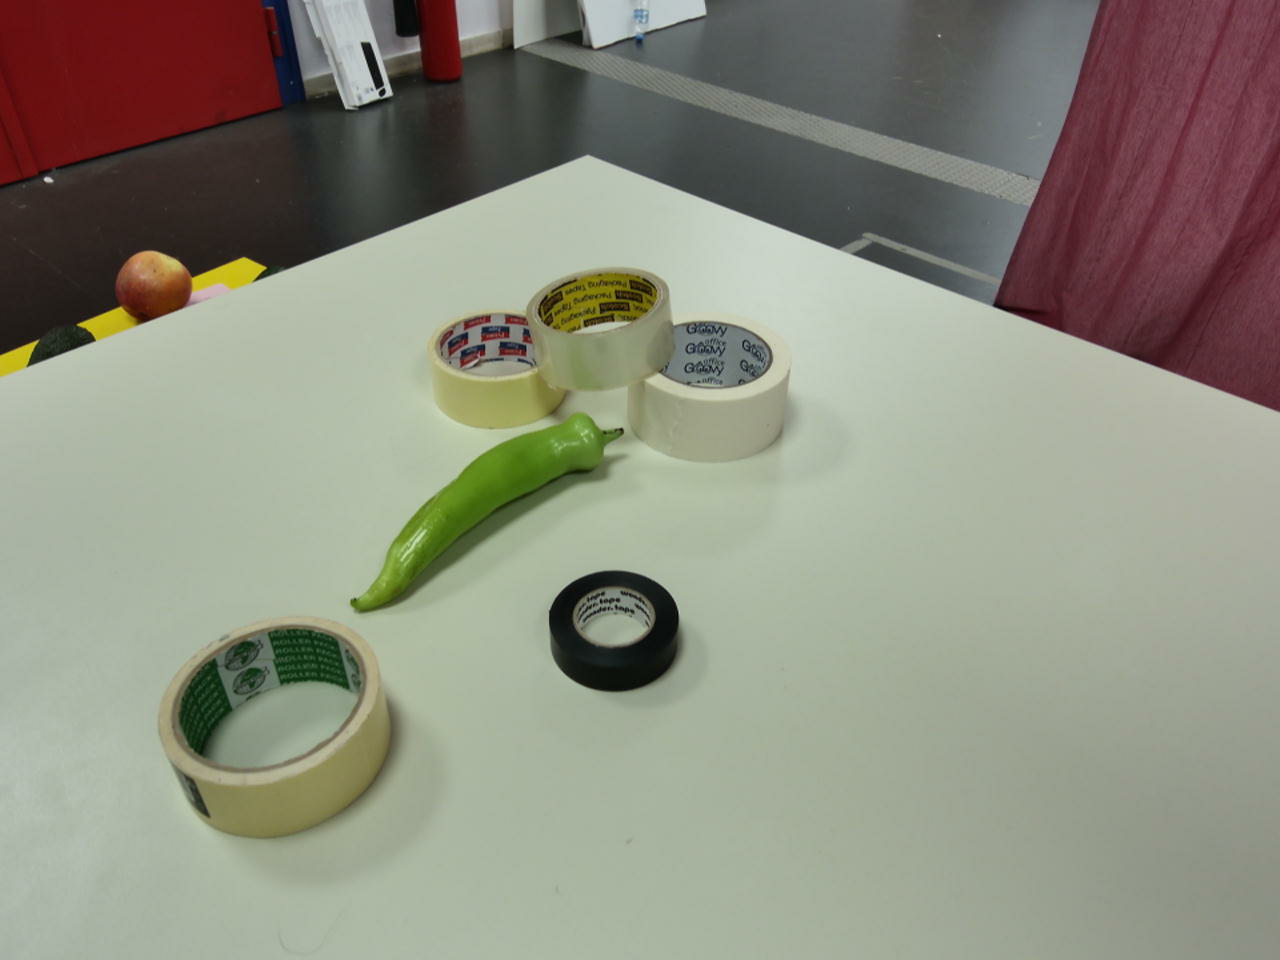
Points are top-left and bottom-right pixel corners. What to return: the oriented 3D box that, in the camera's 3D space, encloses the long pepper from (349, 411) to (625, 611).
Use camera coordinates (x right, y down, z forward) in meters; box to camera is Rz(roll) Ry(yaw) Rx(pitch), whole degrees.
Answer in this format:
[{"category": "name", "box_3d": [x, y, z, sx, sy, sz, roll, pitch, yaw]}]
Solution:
[{"category": "long pepper", "box_3d": [-0.088, 0.008, 0.570, 0.047, 0.038, 0.197, 31, 46, 32]}]
